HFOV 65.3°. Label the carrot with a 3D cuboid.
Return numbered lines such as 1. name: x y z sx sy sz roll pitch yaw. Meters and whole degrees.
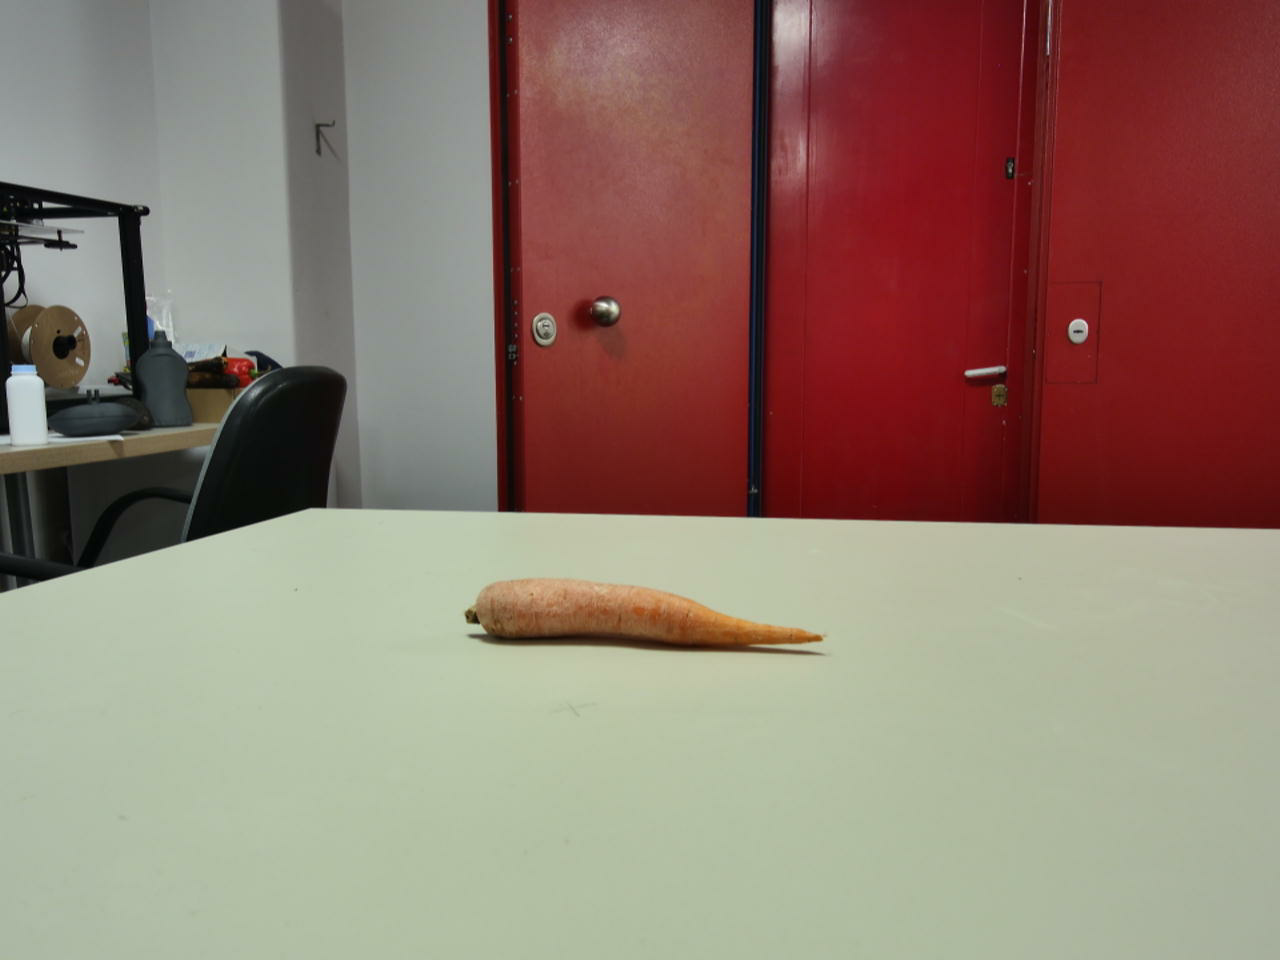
1. carrot: -0.001 0.060 0.450 0.163 0.029 0.031 1 4 12
